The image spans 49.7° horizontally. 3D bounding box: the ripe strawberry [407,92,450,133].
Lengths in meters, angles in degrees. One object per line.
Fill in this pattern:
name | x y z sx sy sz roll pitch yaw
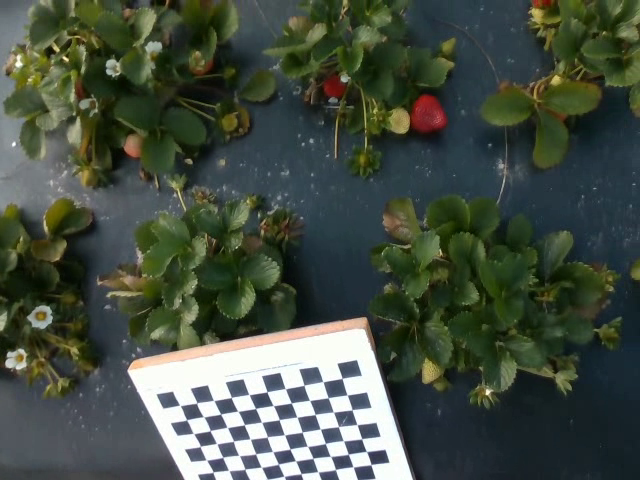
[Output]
ripe strawberry | 0.147 -0.160 0.901 0.048 0.051 0.055 -1 34 -31
